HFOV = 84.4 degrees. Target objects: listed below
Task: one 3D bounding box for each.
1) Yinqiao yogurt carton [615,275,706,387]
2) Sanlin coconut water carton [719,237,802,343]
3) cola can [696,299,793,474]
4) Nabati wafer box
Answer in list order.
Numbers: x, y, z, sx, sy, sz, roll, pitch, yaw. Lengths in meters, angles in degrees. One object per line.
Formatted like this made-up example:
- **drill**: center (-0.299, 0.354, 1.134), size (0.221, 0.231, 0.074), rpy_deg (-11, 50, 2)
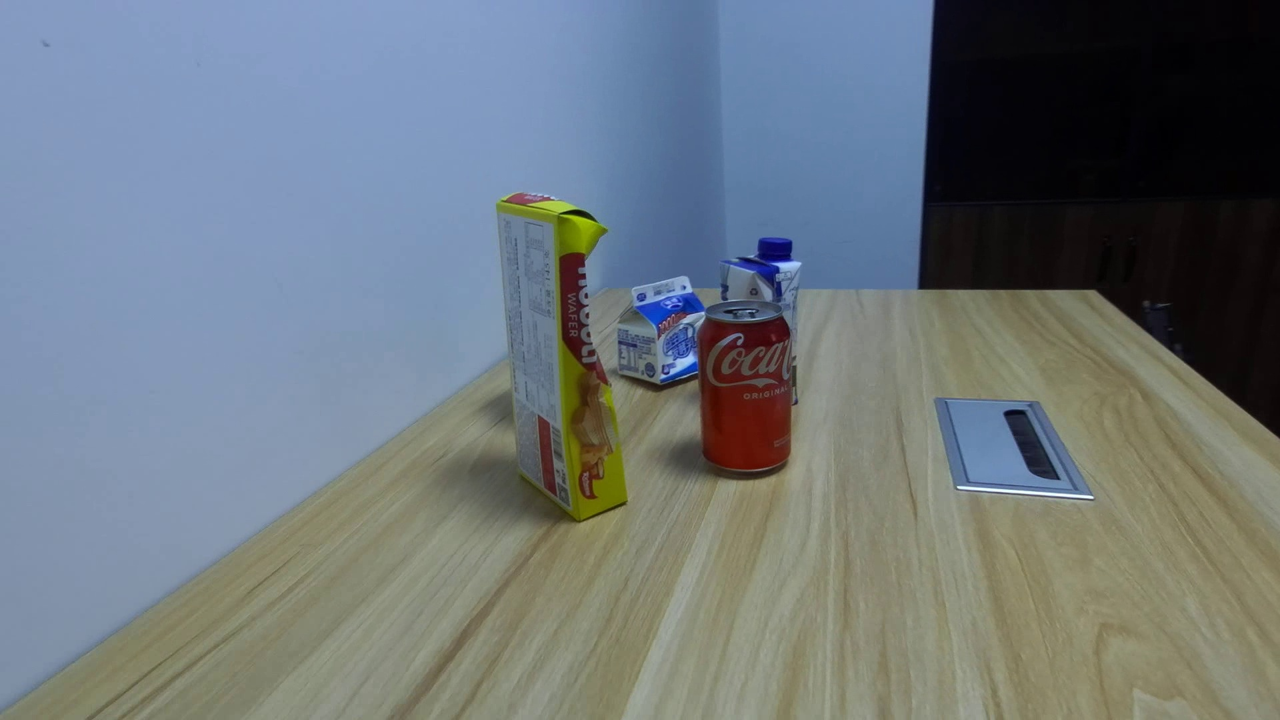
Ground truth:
- **Yinqiao yogurt carton**: center (0.024, -0.031, 0.695), size (0.078, 0.094, 0.070), rpy_deg (-16, 17, -32)
- **Sanlin coconut water carton**: center (0.103, -0.030, 0.606), size (0.061, 0.144, 0.060), rpy_deg (-14, 23, -26)
- **cola can**: center (0.076, 0.018, 0.509), size (0.068, 0.120, 0.068), rpy_deg (-3, 19, 1)
- **Nabati wafer box**: center (-0.051, -0.003, 0.466), size (0.042, 0.204, 0.106), rpy_deg (-15, 22, -30)
